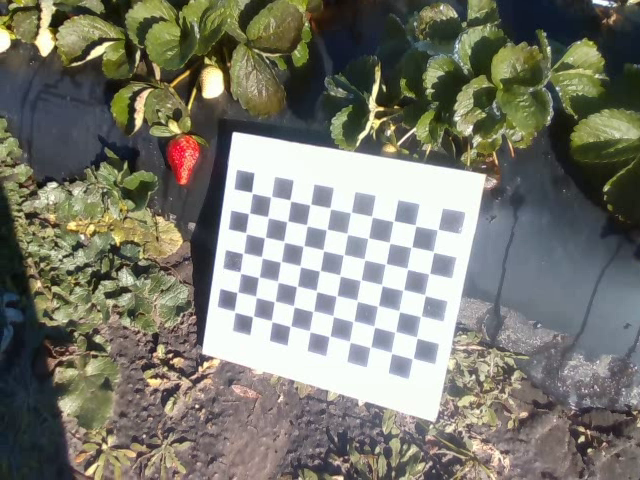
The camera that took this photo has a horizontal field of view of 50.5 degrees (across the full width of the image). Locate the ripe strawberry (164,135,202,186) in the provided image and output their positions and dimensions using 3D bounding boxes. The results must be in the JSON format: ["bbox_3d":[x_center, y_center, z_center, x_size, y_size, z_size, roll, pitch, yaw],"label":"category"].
[{"bbox_3d":[-0.162,-0.093,0.783,0.048,0.069,0.040,-7,-3,20],"label":"ripe strawberry"}]
